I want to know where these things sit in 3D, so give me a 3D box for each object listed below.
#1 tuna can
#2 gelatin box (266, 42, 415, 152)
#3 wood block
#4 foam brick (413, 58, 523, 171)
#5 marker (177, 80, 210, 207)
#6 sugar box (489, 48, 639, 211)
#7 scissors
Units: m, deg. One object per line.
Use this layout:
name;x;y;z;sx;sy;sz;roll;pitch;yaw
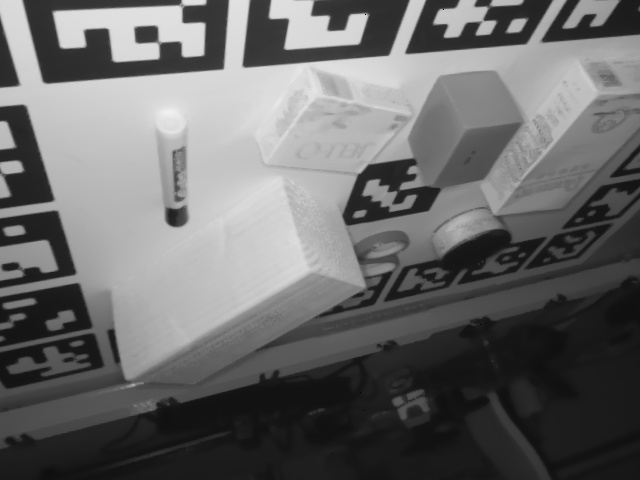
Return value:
tuna can;0.184;0.002;0.770;0.086;0.034;0.085;-16;148;-9
gelatin box;0.016;-0.103;0.519;0.091;0.030;0.072;3;140;-34
wood block;-0.074;0.030;0.618;0.204;0.091;0.091;-33;147;20
foam brick;0.116;-0.101;0.553;0.053;0.051;0.077;-8;146;-20
marker;-0.095;-0.066;0.516;0.020;0.020;0.119;-8;144;-20
sugar box;0.238;-0.098;0.645;0.094;0.045;0.174;-6;145;-22
scissors;0.016;0.023;0.724;0.206;0.016;0.086;-6;145;-27
